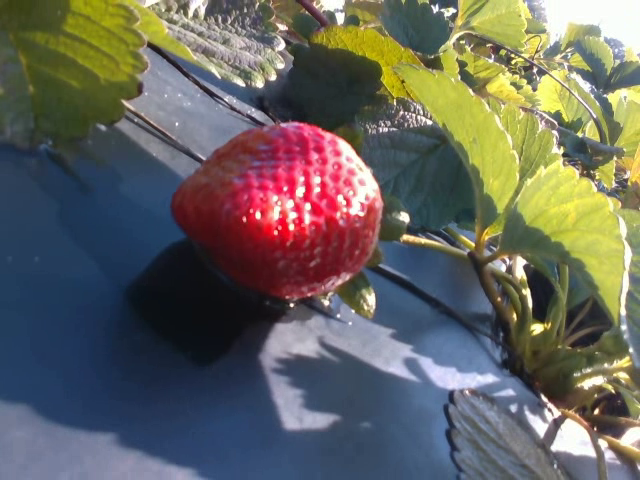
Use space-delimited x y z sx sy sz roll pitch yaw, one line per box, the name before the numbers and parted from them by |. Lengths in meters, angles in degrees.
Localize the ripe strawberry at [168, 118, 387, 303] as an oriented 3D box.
ripe strawberry | -0.009 -0.004 0.116 0.044 0.042 0.055 -13 0 20
